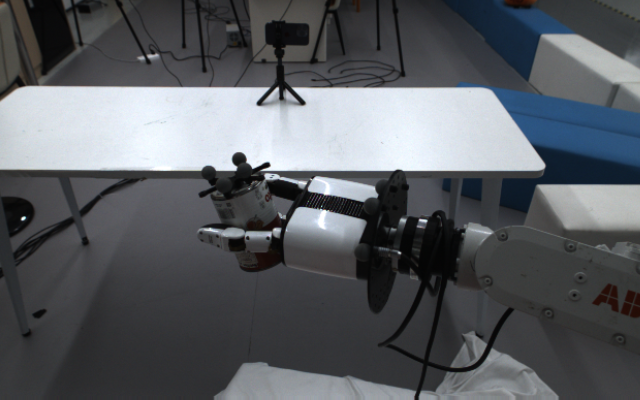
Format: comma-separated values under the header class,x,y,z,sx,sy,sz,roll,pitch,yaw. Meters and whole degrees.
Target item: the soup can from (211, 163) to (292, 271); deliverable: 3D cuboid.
class,x,y,z,sx,sy,sz,roll,pitch,yaw
soup can,-0.080,0.026,0.578,0.067,0.101,0.067,-16,22,7
